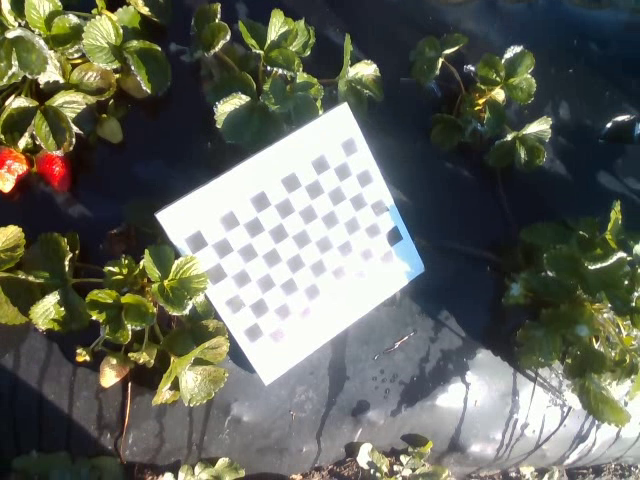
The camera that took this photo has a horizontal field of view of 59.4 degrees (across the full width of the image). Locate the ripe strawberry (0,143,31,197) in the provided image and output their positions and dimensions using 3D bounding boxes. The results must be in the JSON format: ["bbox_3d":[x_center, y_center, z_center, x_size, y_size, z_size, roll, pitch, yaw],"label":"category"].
[{"bbox_3d":[-0.403,-0.088,0.724,0.052,0.070,0.040,15,-5,-30],"label":"ripe strawberry"}]

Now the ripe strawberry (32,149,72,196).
[{"bbox_3d":[-0.350,-0.093,0.734,0.043,0.059,0.040,-33,14,-14],"label":"ripe strawberry"}]
